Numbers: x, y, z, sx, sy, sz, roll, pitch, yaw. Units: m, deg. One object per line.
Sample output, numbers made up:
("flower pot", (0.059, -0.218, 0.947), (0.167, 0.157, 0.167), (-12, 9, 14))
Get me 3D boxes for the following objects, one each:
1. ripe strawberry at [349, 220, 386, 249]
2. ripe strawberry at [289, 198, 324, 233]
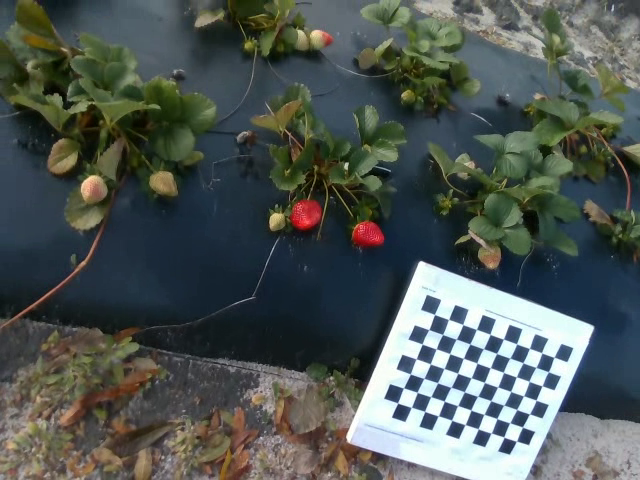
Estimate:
("ripe strawberry", (0.051, -0.005, 0.606), (0.033, 0.038, 0.039), (27, 15, -32))
("ripe strawberry", (-0.014, -0.024, 0.588), (0.035, 0.041, 0.036), (5, 33, -6))
